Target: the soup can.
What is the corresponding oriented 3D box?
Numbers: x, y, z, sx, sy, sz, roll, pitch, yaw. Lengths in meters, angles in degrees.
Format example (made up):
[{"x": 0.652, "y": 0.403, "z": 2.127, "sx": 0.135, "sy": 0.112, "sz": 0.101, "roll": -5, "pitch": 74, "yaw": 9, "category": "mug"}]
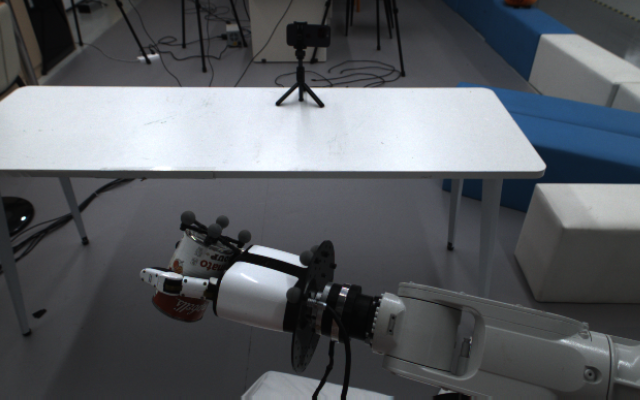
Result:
[{"x": -0.158, "y": 0.093, "z": 0.607, "sx": 0.067, "sy": 0.101, "sz": 0.067, "roll": 27, "pitch": 6, "yaw": -3, "category": "soup can"}]
